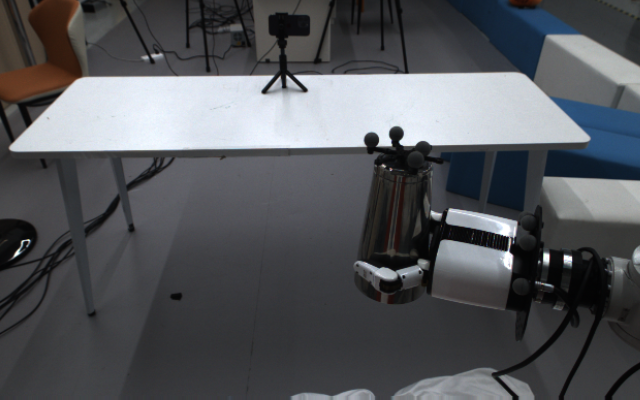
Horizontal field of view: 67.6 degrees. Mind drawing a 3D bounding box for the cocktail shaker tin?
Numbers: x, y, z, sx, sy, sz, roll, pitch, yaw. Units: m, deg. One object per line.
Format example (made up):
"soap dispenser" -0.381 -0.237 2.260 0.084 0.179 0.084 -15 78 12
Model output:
"cocktail shaker tin" 0.095 0.030 0.592 0.093 0.170 0.093 1 28 -1
